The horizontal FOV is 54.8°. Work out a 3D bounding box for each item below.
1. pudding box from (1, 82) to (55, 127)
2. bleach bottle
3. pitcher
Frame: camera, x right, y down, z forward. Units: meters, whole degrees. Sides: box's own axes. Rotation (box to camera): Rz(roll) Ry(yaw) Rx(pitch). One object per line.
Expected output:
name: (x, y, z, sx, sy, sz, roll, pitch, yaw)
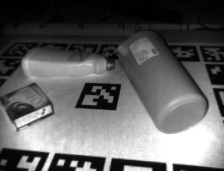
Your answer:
pudding box: (-0.204, 0.038, 0.523, 0.091, 0.039, 0.112, -25, 46, -31)
bleach bottle: (-0.126, -0.080, 0.642, 0.250, 0.068, 0.102, 0, 45, 2)
pitcher: (0.119, -0.019, 0.527, 0.191, 0.133, 0.240, 13, 36, -35)
